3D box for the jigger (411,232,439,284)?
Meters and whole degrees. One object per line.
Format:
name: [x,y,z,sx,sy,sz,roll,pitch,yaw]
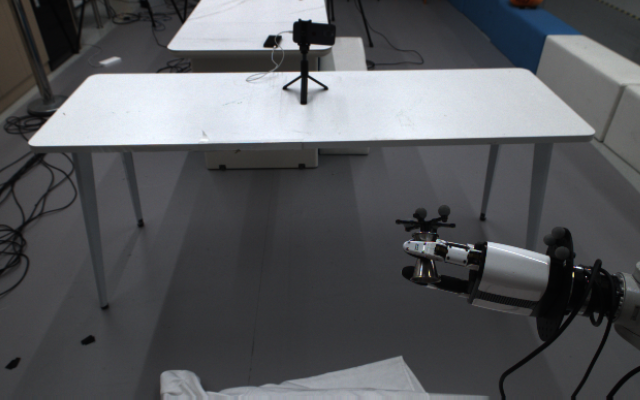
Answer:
jigger: [0.153,0.082,0.711,0.043,0.043,0.071,4,71,2]
